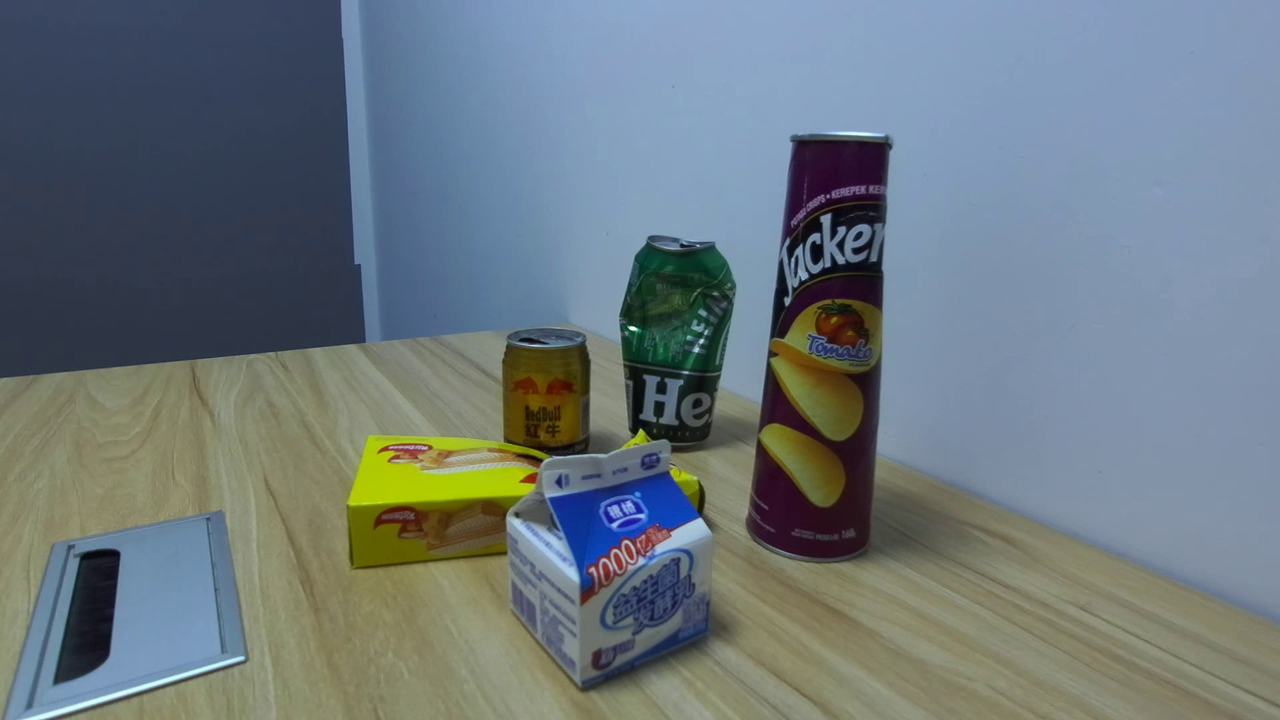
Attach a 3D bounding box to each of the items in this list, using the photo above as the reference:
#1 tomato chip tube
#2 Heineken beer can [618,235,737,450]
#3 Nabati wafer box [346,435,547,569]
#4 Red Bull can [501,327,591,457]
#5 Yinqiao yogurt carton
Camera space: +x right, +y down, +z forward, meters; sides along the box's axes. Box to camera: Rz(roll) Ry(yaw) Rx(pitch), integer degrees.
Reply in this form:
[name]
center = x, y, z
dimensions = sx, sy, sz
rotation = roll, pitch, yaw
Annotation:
[tomato chip tube]
center = 0.109, -0.007, 0.409
dimensions = 0.076, 0.235, 0.078
rotation = 14, 18, 36
[Heineken beer can]
center = 0.025, -0.013, 0.560
dimensions = 0.066, 0.164, 0.077
rotation = -7, 20, -30
[Nabati wafer box]
center = -0.070, 0.078, 0.447
dimensions = 0.205, 0.042, 0.106
rotation = -2, 17, -15
[Red Bull can]
center = -0.070, 0.031, 0.538
dimensions = 0.067, 0.093, 0.067
rotation = 2, 8, 0
[Yinqiao yogurt carton]
center = -0.014, 0.083, 0.333
dimensions = 0.076, 0.092, 0.073
rotation = -9, 19, -34
